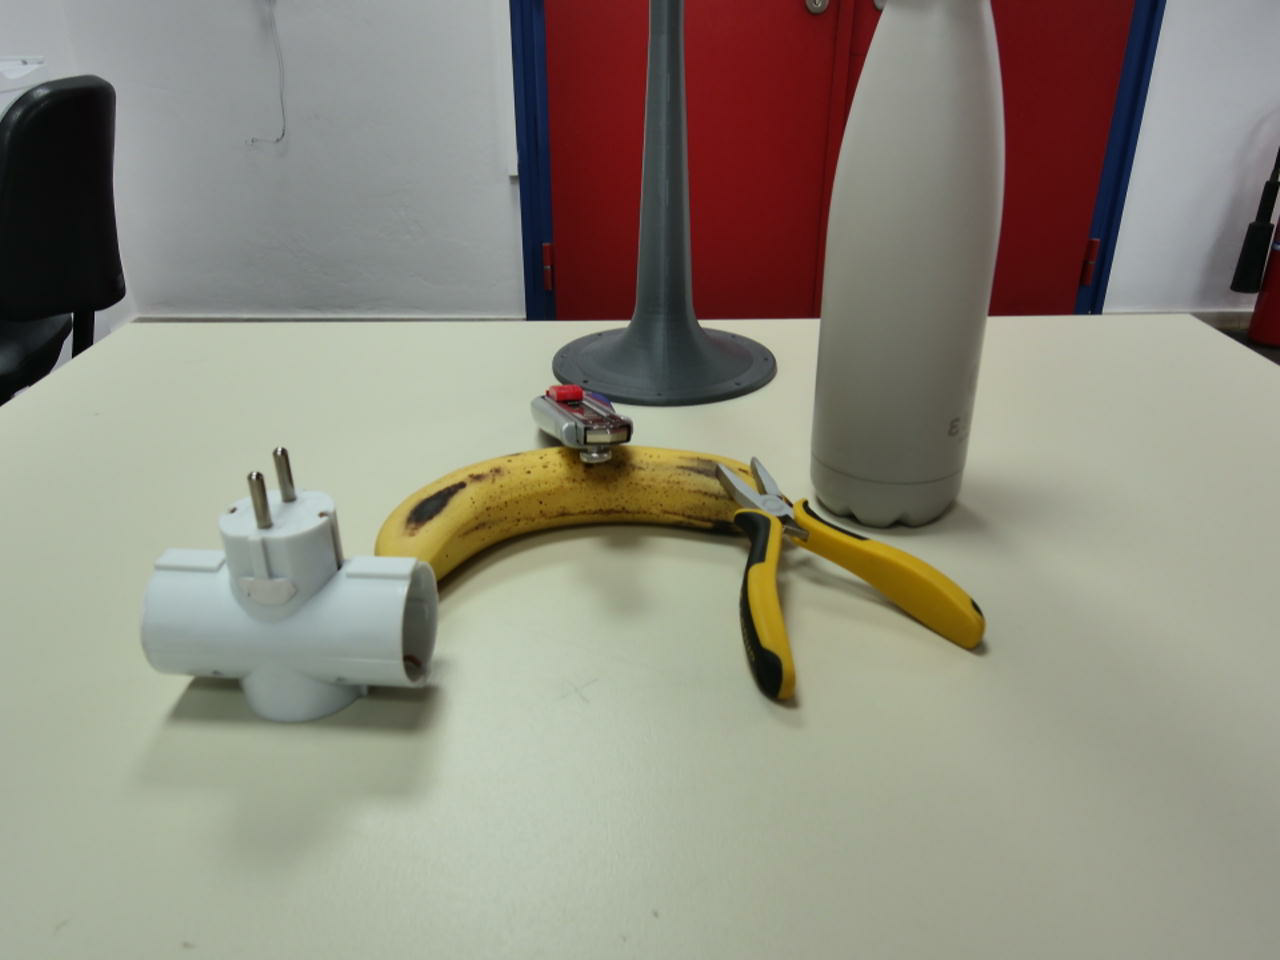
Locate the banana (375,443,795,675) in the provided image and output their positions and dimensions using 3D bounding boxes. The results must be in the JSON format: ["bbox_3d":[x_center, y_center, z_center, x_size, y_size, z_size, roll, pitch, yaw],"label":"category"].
[{"bbox_3d":[-0.032,0.016,0.443,0.186,0.038,0.097,-12,27,-25],"label":"banana"}]
